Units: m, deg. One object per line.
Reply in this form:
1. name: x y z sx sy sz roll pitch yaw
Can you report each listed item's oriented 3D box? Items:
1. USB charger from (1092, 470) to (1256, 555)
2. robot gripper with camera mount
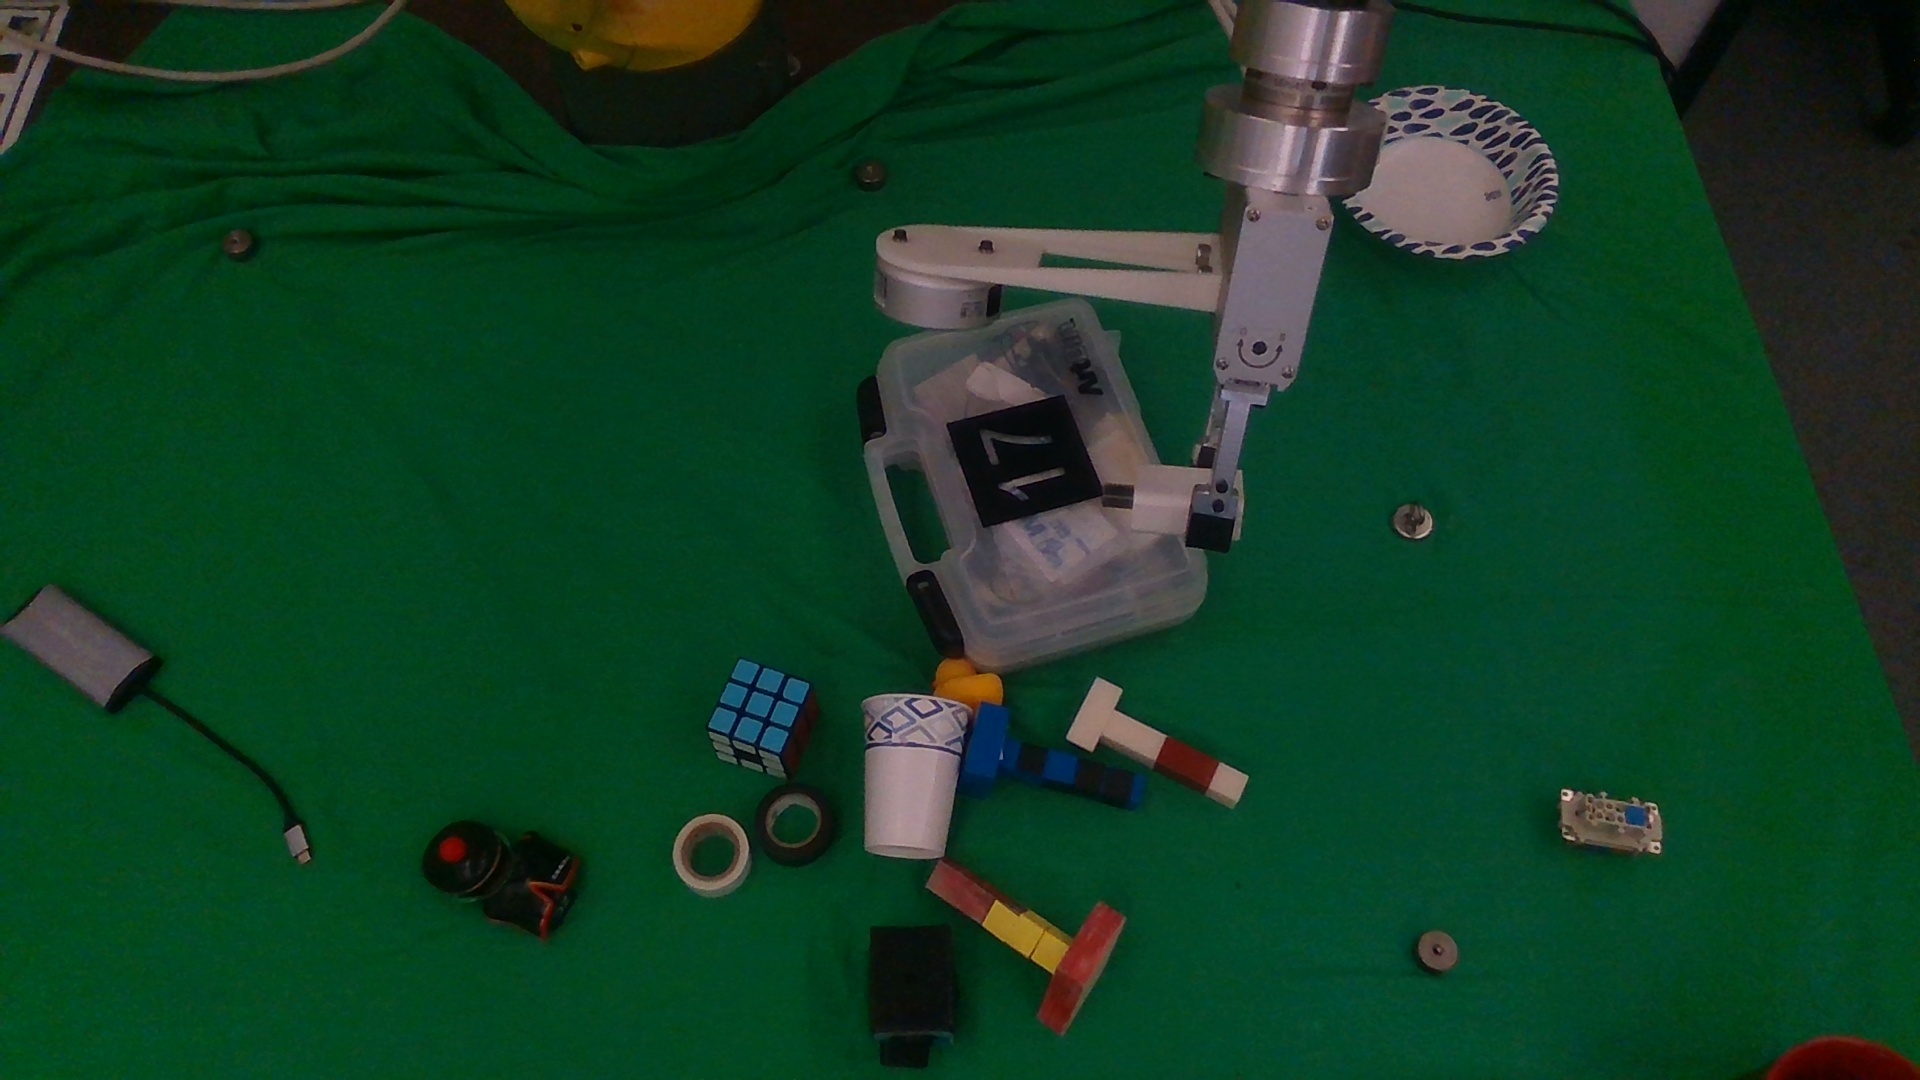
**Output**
1. USB charger: 0.104 -0.015 0.687 0.075 0.029 0.045 2 40 -9
2. robot gripper with camera mount: 0.051 -0.084 0.650 0.193 0.158 0.119 8 35 4
